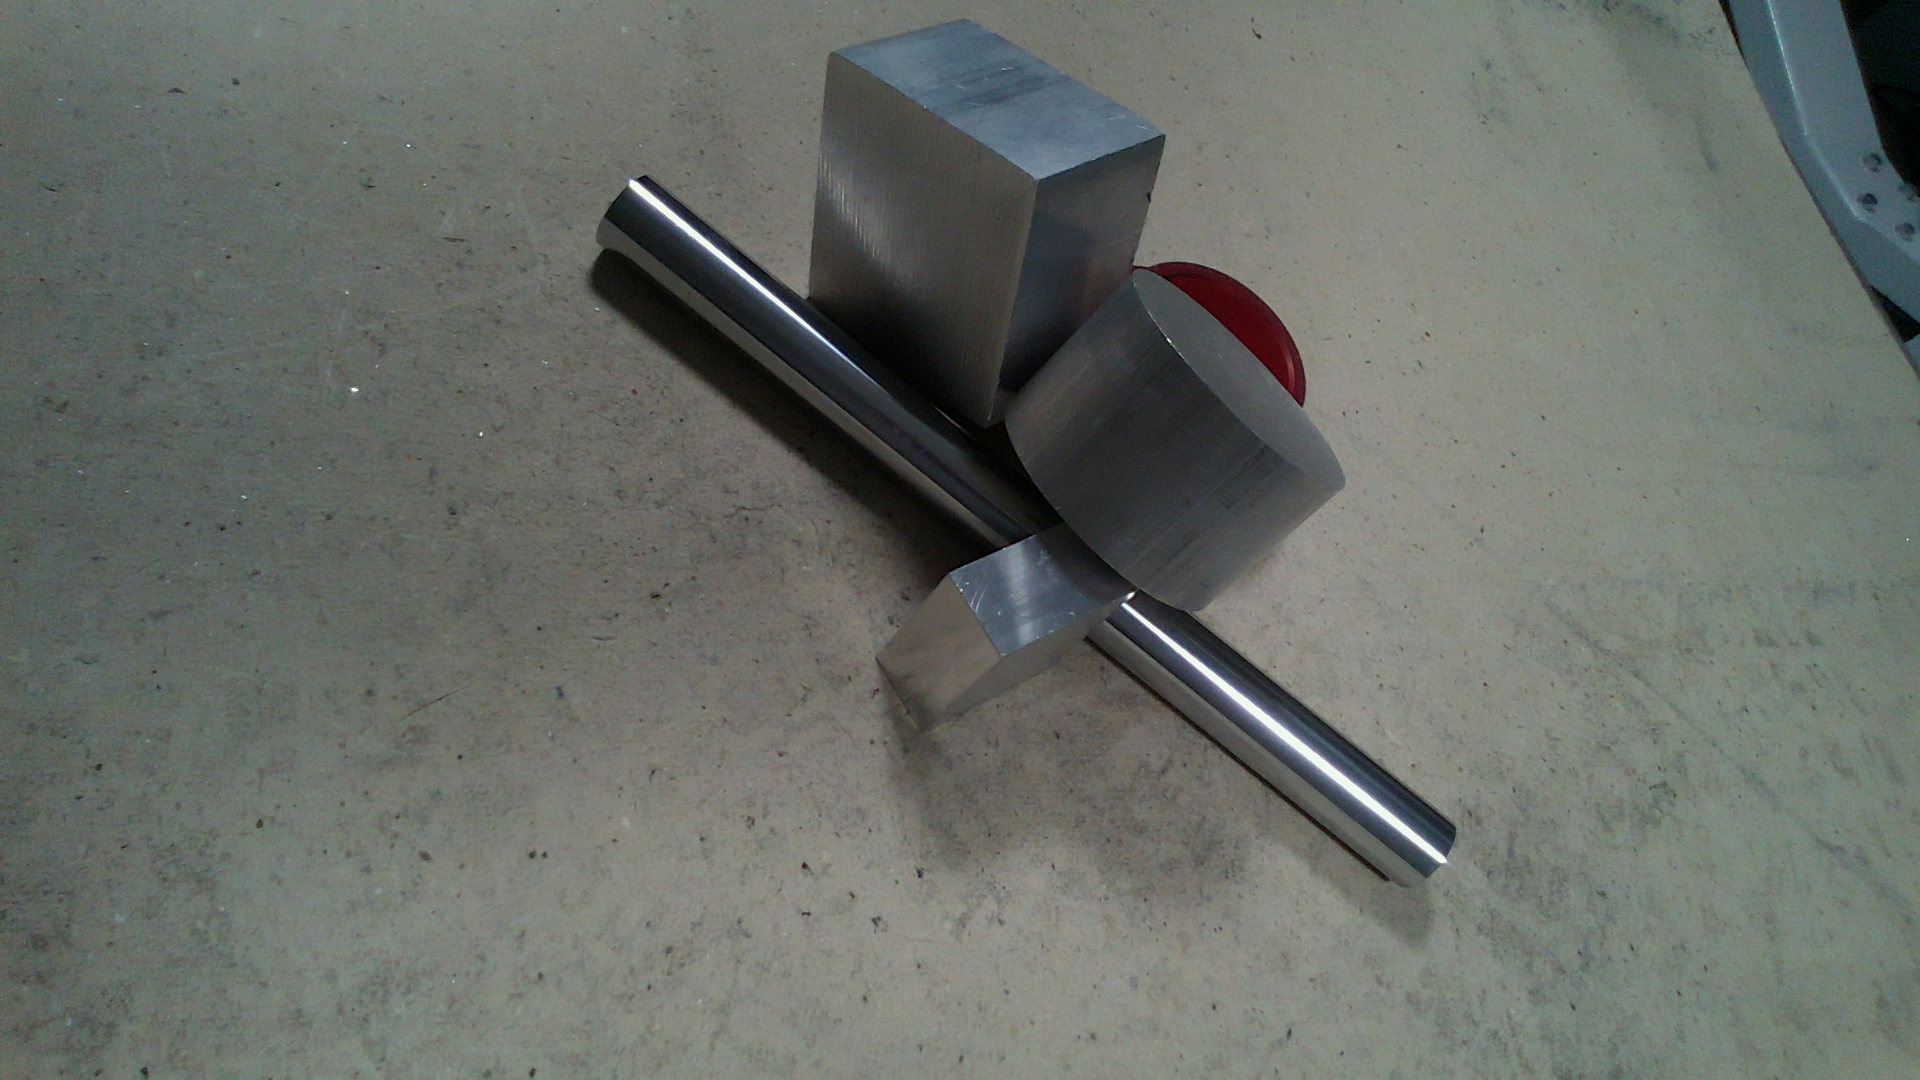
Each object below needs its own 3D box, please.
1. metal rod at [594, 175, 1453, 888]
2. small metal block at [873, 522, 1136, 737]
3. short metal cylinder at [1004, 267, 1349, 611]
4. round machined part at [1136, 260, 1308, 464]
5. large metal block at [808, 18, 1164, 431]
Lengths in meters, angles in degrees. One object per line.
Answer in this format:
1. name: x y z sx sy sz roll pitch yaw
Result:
1. metal rod: 0.020 -0.001 0.402 0.300 0.025 0.025 39 51 -2
2. small metal block: 0.012 0.022 0.367 0.050 0.050 0.025 -23 73 -37
3. short metal cylinder: 0.059 -0.028 0.374 0.080 0.050 0.080 36 24 -19
4. round machined part: 0.073 -0.051 0.449 0.098 0.042 0.098 14 56 -21
5. large metal block: 0.004 -0.093 0.400 0.080 0.080 0.050 38 49 27
